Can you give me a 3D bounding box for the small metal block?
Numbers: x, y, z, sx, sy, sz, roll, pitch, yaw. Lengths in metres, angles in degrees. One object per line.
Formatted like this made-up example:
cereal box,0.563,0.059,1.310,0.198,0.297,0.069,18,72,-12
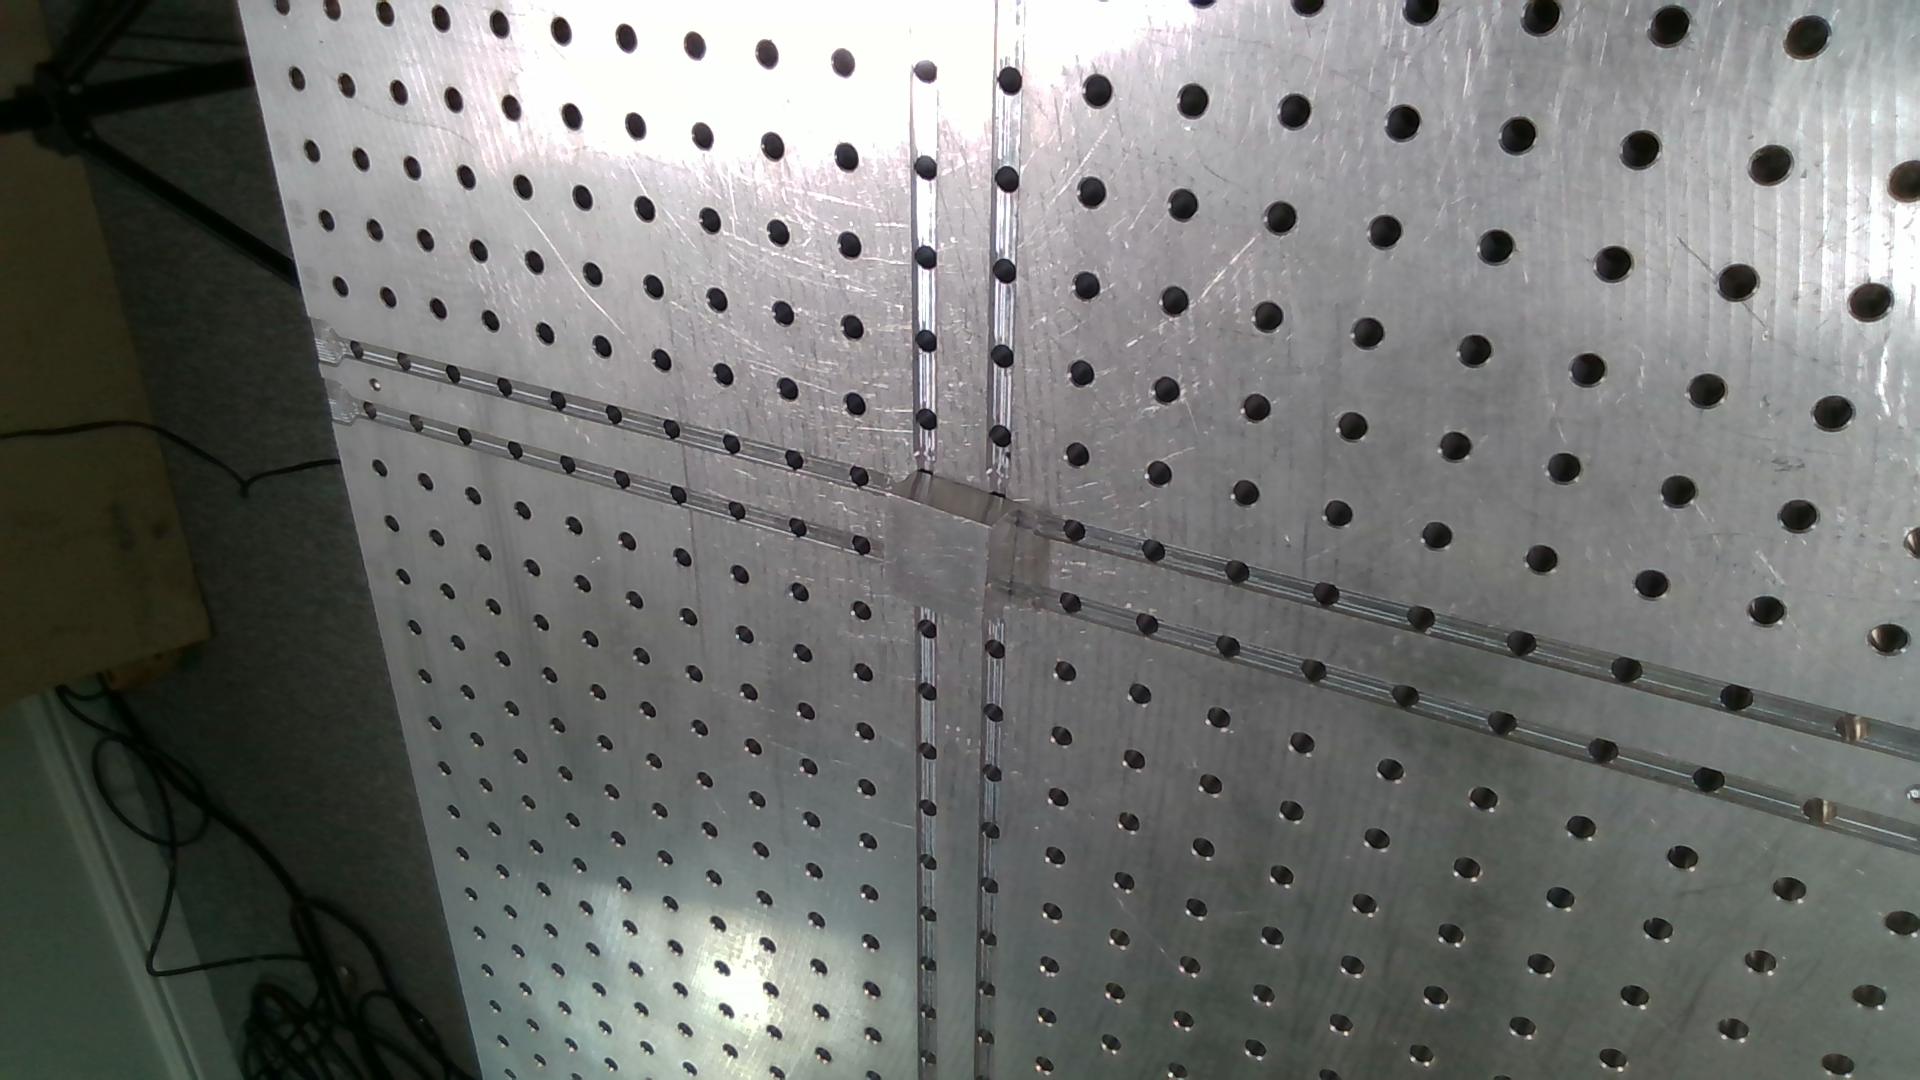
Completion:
small metal block,-0.005,0.003,0.587,0.050,0.025,0.050,19,124,22
